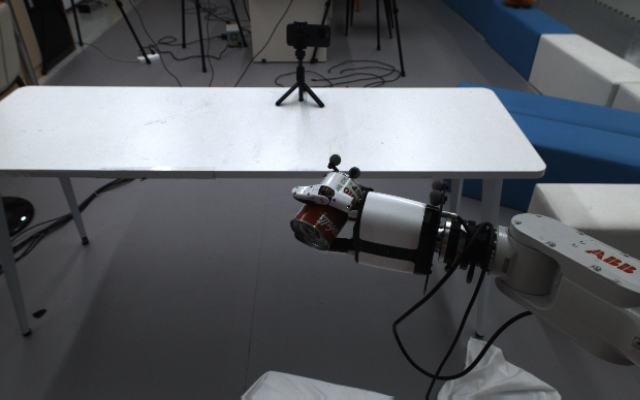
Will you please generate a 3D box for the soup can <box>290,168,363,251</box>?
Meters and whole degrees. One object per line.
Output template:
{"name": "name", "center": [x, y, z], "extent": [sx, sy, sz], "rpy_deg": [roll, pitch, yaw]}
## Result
{"name": "soup can", "center": [0.012, 0.014, 0.710], "extent": [0.067, 0.067, 0.101], "rpy_deg": [22, 61, 27]}
